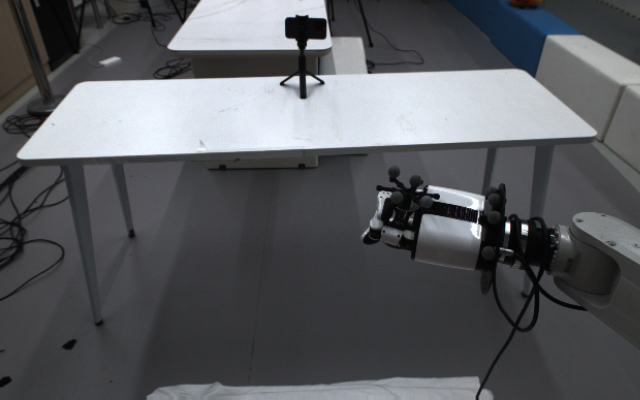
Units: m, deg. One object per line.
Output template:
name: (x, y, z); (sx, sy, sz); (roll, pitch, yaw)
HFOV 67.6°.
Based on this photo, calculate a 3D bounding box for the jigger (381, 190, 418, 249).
jigger: (0.119, 0.032, 0.707); (0.043, 0.071, 0.043); (7, 32, -4)
